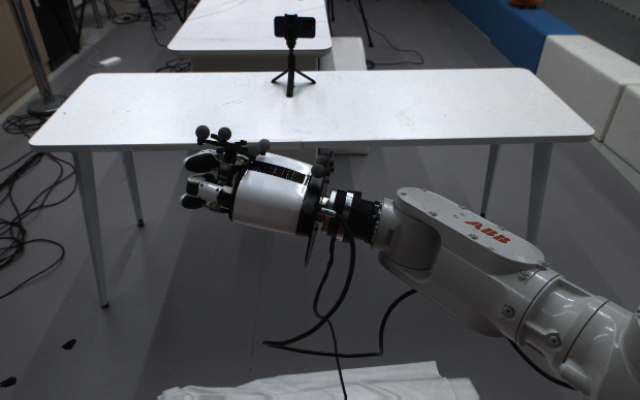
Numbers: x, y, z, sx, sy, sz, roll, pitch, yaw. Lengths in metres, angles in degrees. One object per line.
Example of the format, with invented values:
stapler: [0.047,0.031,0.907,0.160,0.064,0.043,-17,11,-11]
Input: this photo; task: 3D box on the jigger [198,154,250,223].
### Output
jigger: [-0.124,-0.023,0.642,0.043,0.071,0.043,15,17,-5]
